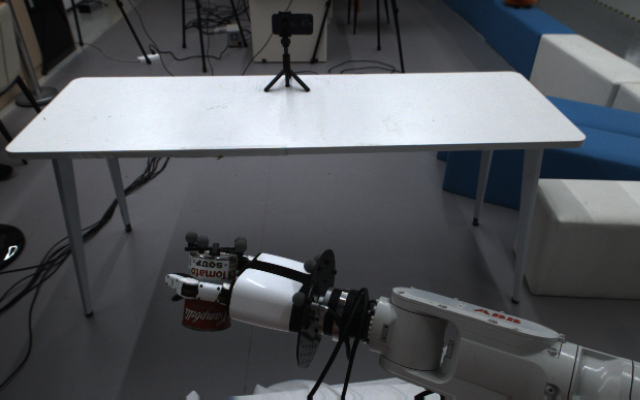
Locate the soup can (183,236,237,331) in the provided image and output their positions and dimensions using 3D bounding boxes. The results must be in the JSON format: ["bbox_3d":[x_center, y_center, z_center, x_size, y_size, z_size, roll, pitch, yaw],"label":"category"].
[{"bbox_3d":[-0.152,0.124,0.672,0.067,0.101,0.067,7,3,0],"label":"soup can"}]
